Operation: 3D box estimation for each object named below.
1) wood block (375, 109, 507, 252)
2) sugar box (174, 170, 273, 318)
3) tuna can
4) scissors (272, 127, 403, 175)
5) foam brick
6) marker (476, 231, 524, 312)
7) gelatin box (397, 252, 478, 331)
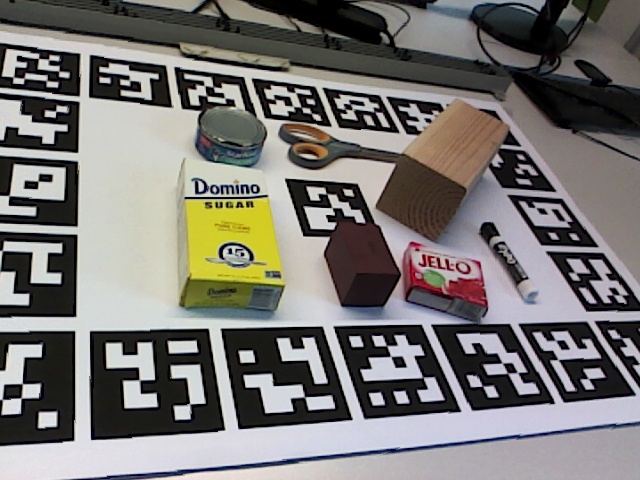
[{"bbox_3d":[0.168,-0.085,0.831,0.090,0.091,0.206,32,42,11],"label":"wood block"},{"bbox_3d":[-0.106,0.000,0.657,0.092,0.045,0.177,6,45,-19],"label":"sugar box"},{"bbox_3d":[-0.120,-0.122,0.777,0.085,0.034,0.086,12,44,-12],"label":"tuna can"},{"bbox_3d":[0.035,-0.113,0.853,0.202,0.016,0.088,7,45,-14],"label":"scissors"},{"bbox_3d":[0.039,0.037,0.669,0.052,0.051,0.078,4,46,-20],"label":"foam brick"},{"bbox_3d":[0.224,0.036,0.777,0.019,0.019,0.121,4,48,-20],"label":"marker"},{"bbox_3d":[0.133,0.058,0.710,0.089,0.030,0.073,16,43,-7],"label":"gelatin box"}]
